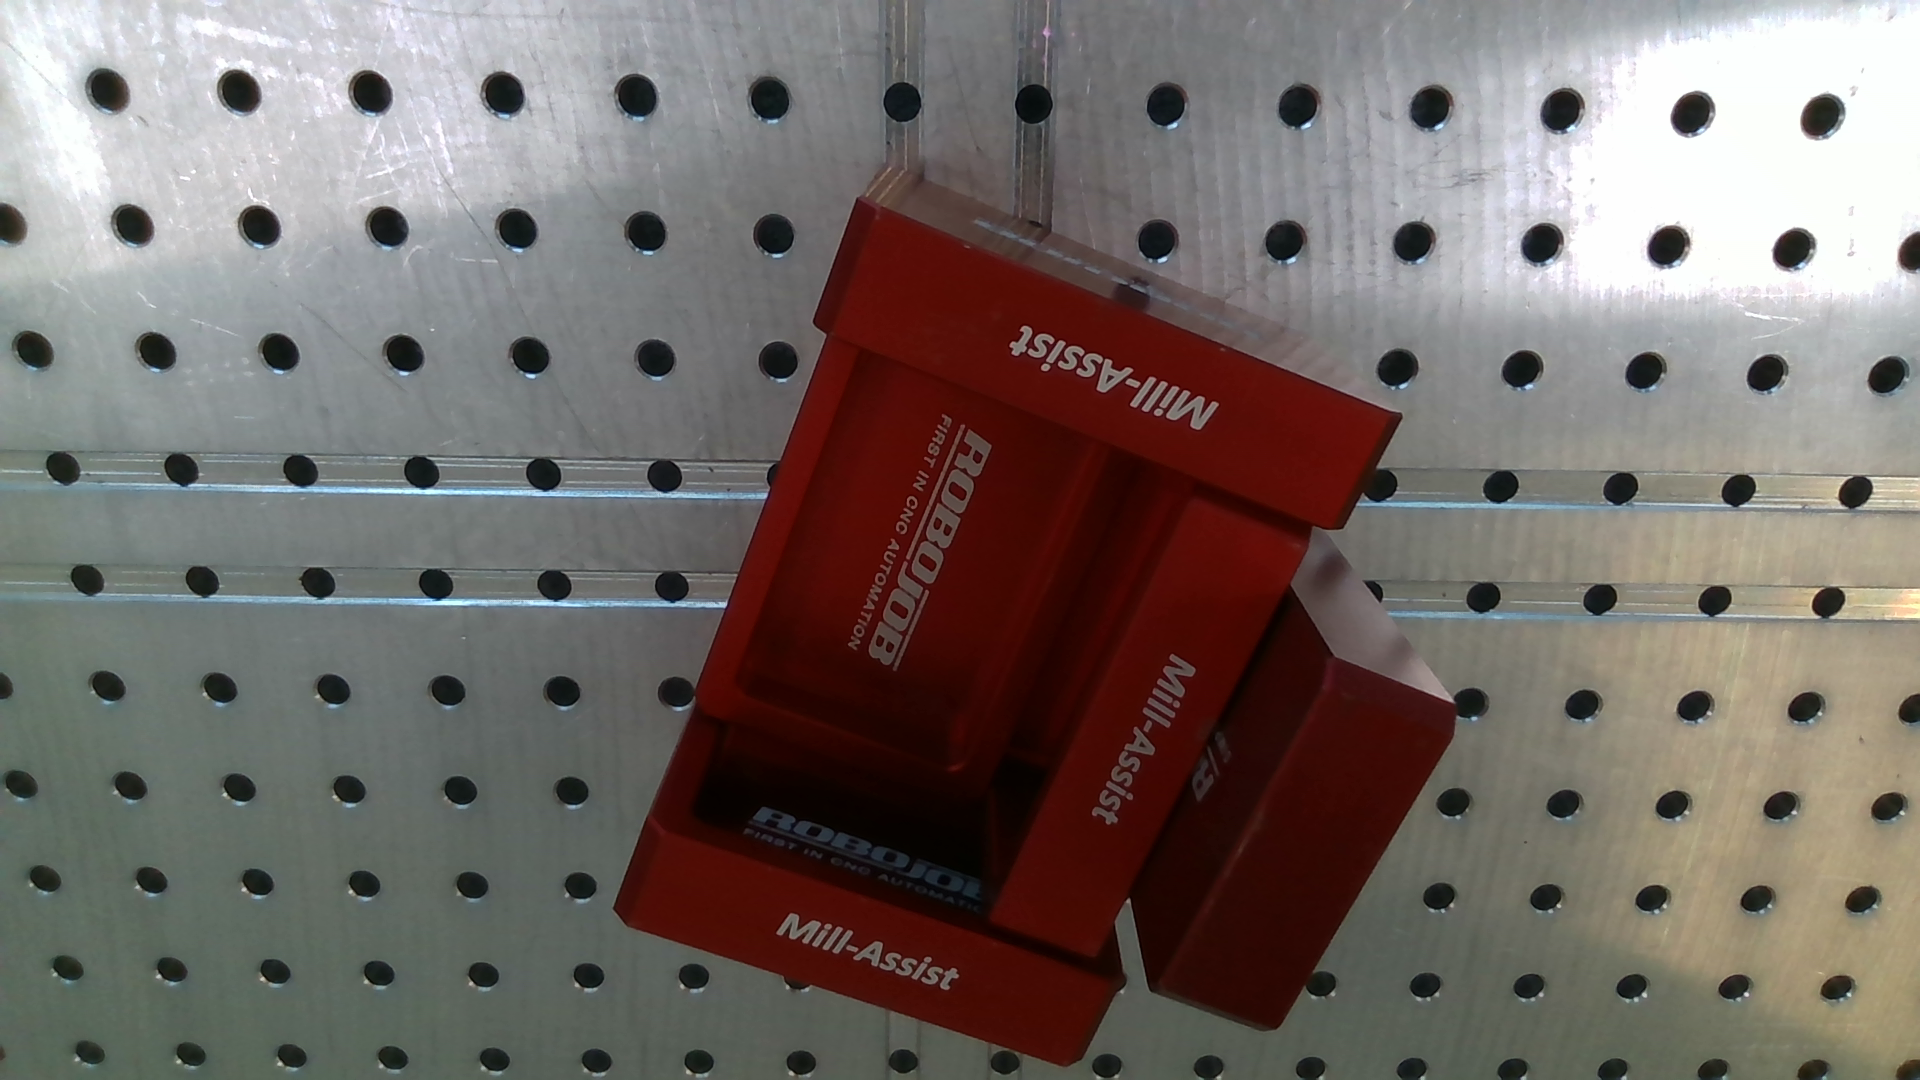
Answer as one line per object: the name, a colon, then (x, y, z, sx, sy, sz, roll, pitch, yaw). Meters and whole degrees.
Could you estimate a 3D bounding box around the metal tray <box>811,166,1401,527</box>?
metal tray: (0.033, -0.052, 0.342, 0.130, 0.090, 0.030, 20, 109, -7)

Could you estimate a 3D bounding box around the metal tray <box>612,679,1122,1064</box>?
metal tray: (-0.023, 0.090, 0.393, 0.130, 0.090, 0.030, 20, 109, -7)

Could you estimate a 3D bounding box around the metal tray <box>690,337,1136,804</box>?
metal tray: (-0.013, 0.002, 0.393, 0.090, 0.030, 0.130, 21, 109, -7)

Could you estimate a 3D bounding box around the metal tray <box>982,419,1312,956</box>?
metal tray: (0.044, 0.033, 0.373, 0.030, 0.090, 0.130, 21, 109, -7)

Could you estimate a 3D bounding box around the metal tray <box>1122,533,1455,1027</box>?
metal tray: (0.073, 0.048, 0.356, 0.030, 0.130, 0.090, 21, 109, -7)
